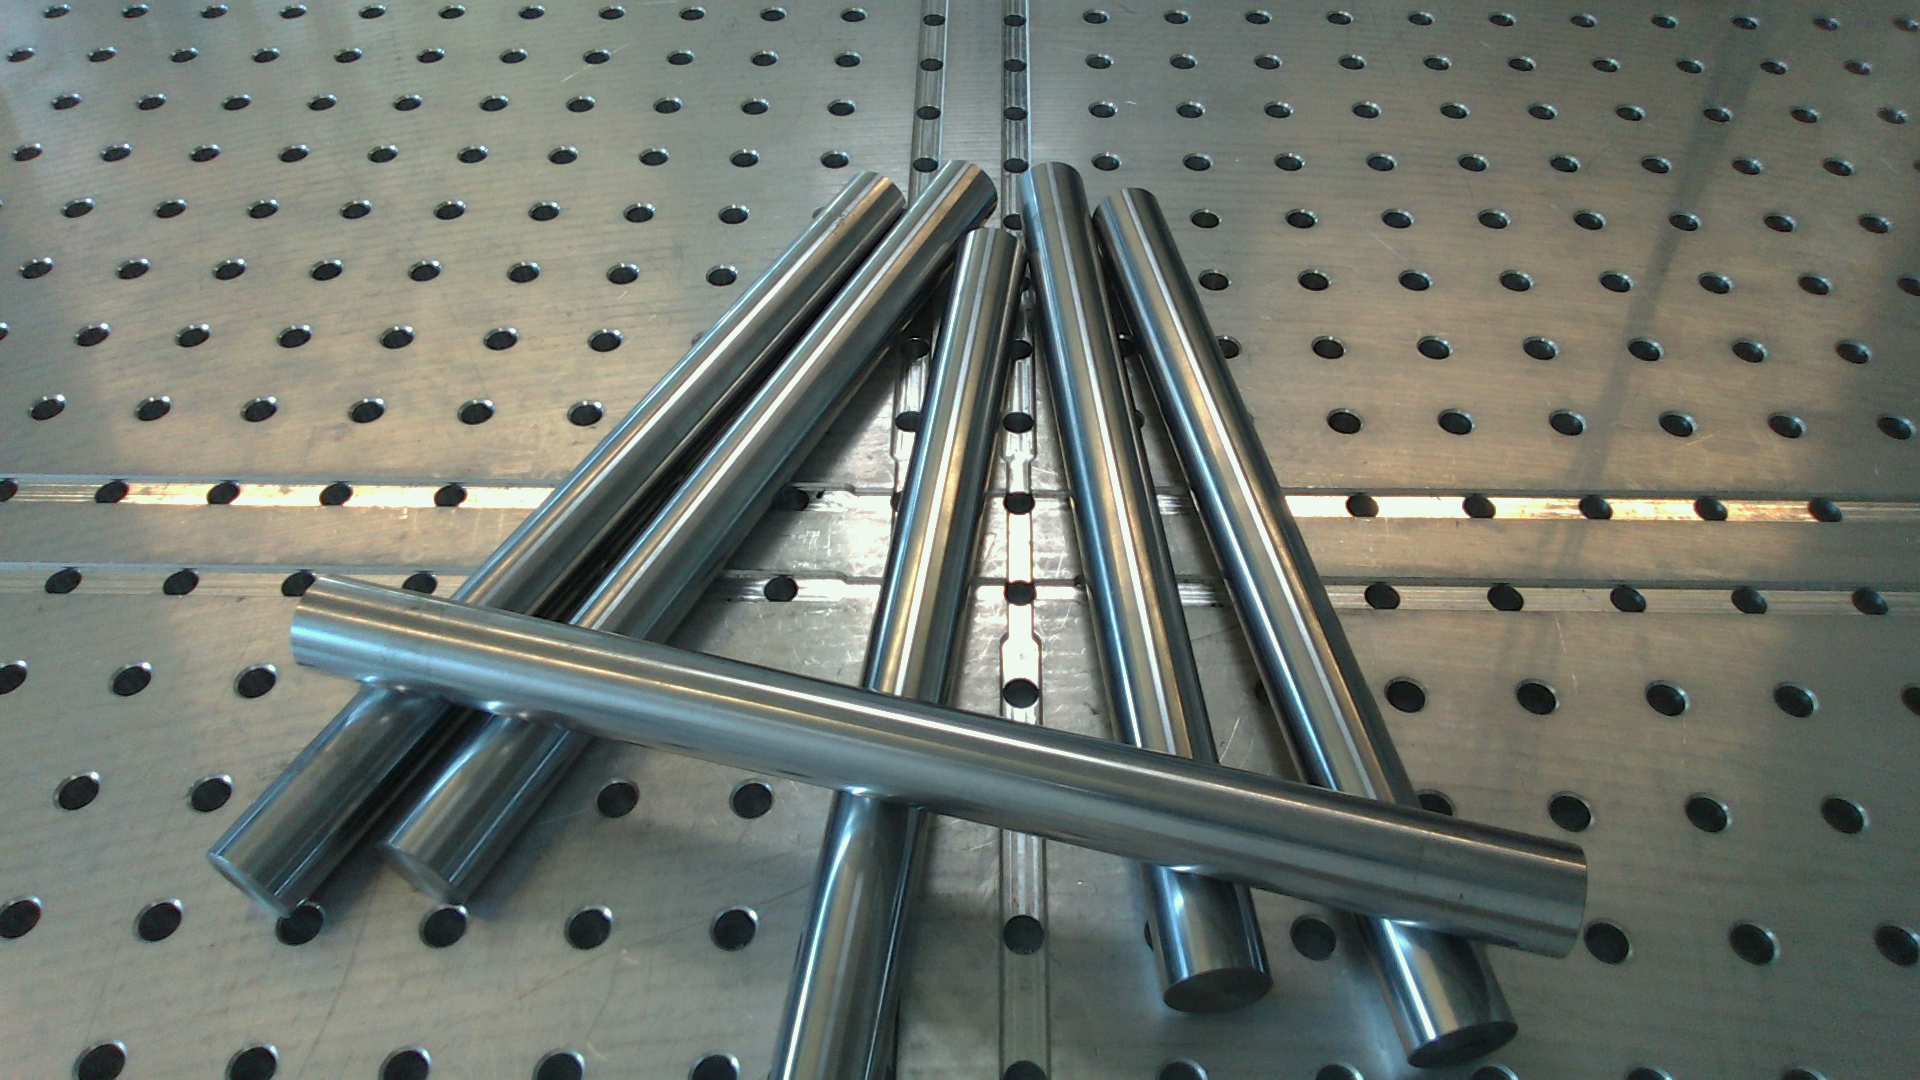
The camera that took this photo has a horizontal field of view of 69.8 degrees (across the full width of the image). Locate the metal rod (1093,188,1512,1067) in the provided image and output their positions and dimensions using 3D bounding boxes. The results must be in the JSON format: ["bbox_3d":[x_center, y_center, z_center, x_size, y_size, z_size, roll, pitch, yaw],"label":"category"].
[{"bbox_3d":[0.084,-0.002,0.396,0.025,0.025,0.300,-7,50,-6],"label":"metal rod"}]

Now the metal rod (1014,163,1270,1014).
[{"bbox_3d":[0.045,-0.013,0.405,0.025,0.025,0.300,-4,50,-3],"label":"metal rod"}]

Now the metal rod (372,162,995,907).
[{"bbox_3d":[-0.064,-0.024,0.415,0.025,0.025,0.301,20,53,16],"label":"metal rod"}]

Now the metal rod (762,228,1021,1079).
[{"bbox_3d":[-0.011,0.015,0.382,0.025,0.025,0.300,6,50,5],"label":"metal rod"}]

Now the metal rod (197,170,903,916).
[{"bbox_3d":[-0.100,-0.021,0.411,0.025,0.025,0.301,22,53,17],"label":"metal rod"}]
